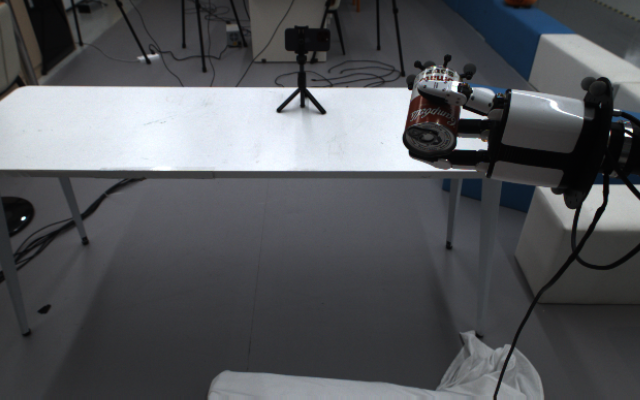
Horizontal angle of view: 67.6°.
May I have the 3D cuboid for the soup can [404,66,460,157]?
[{"bbox_3d":[0.150,-0.119,0.634,0.067,0.067,0.101,9,60,10],"label":"soup can"}]
